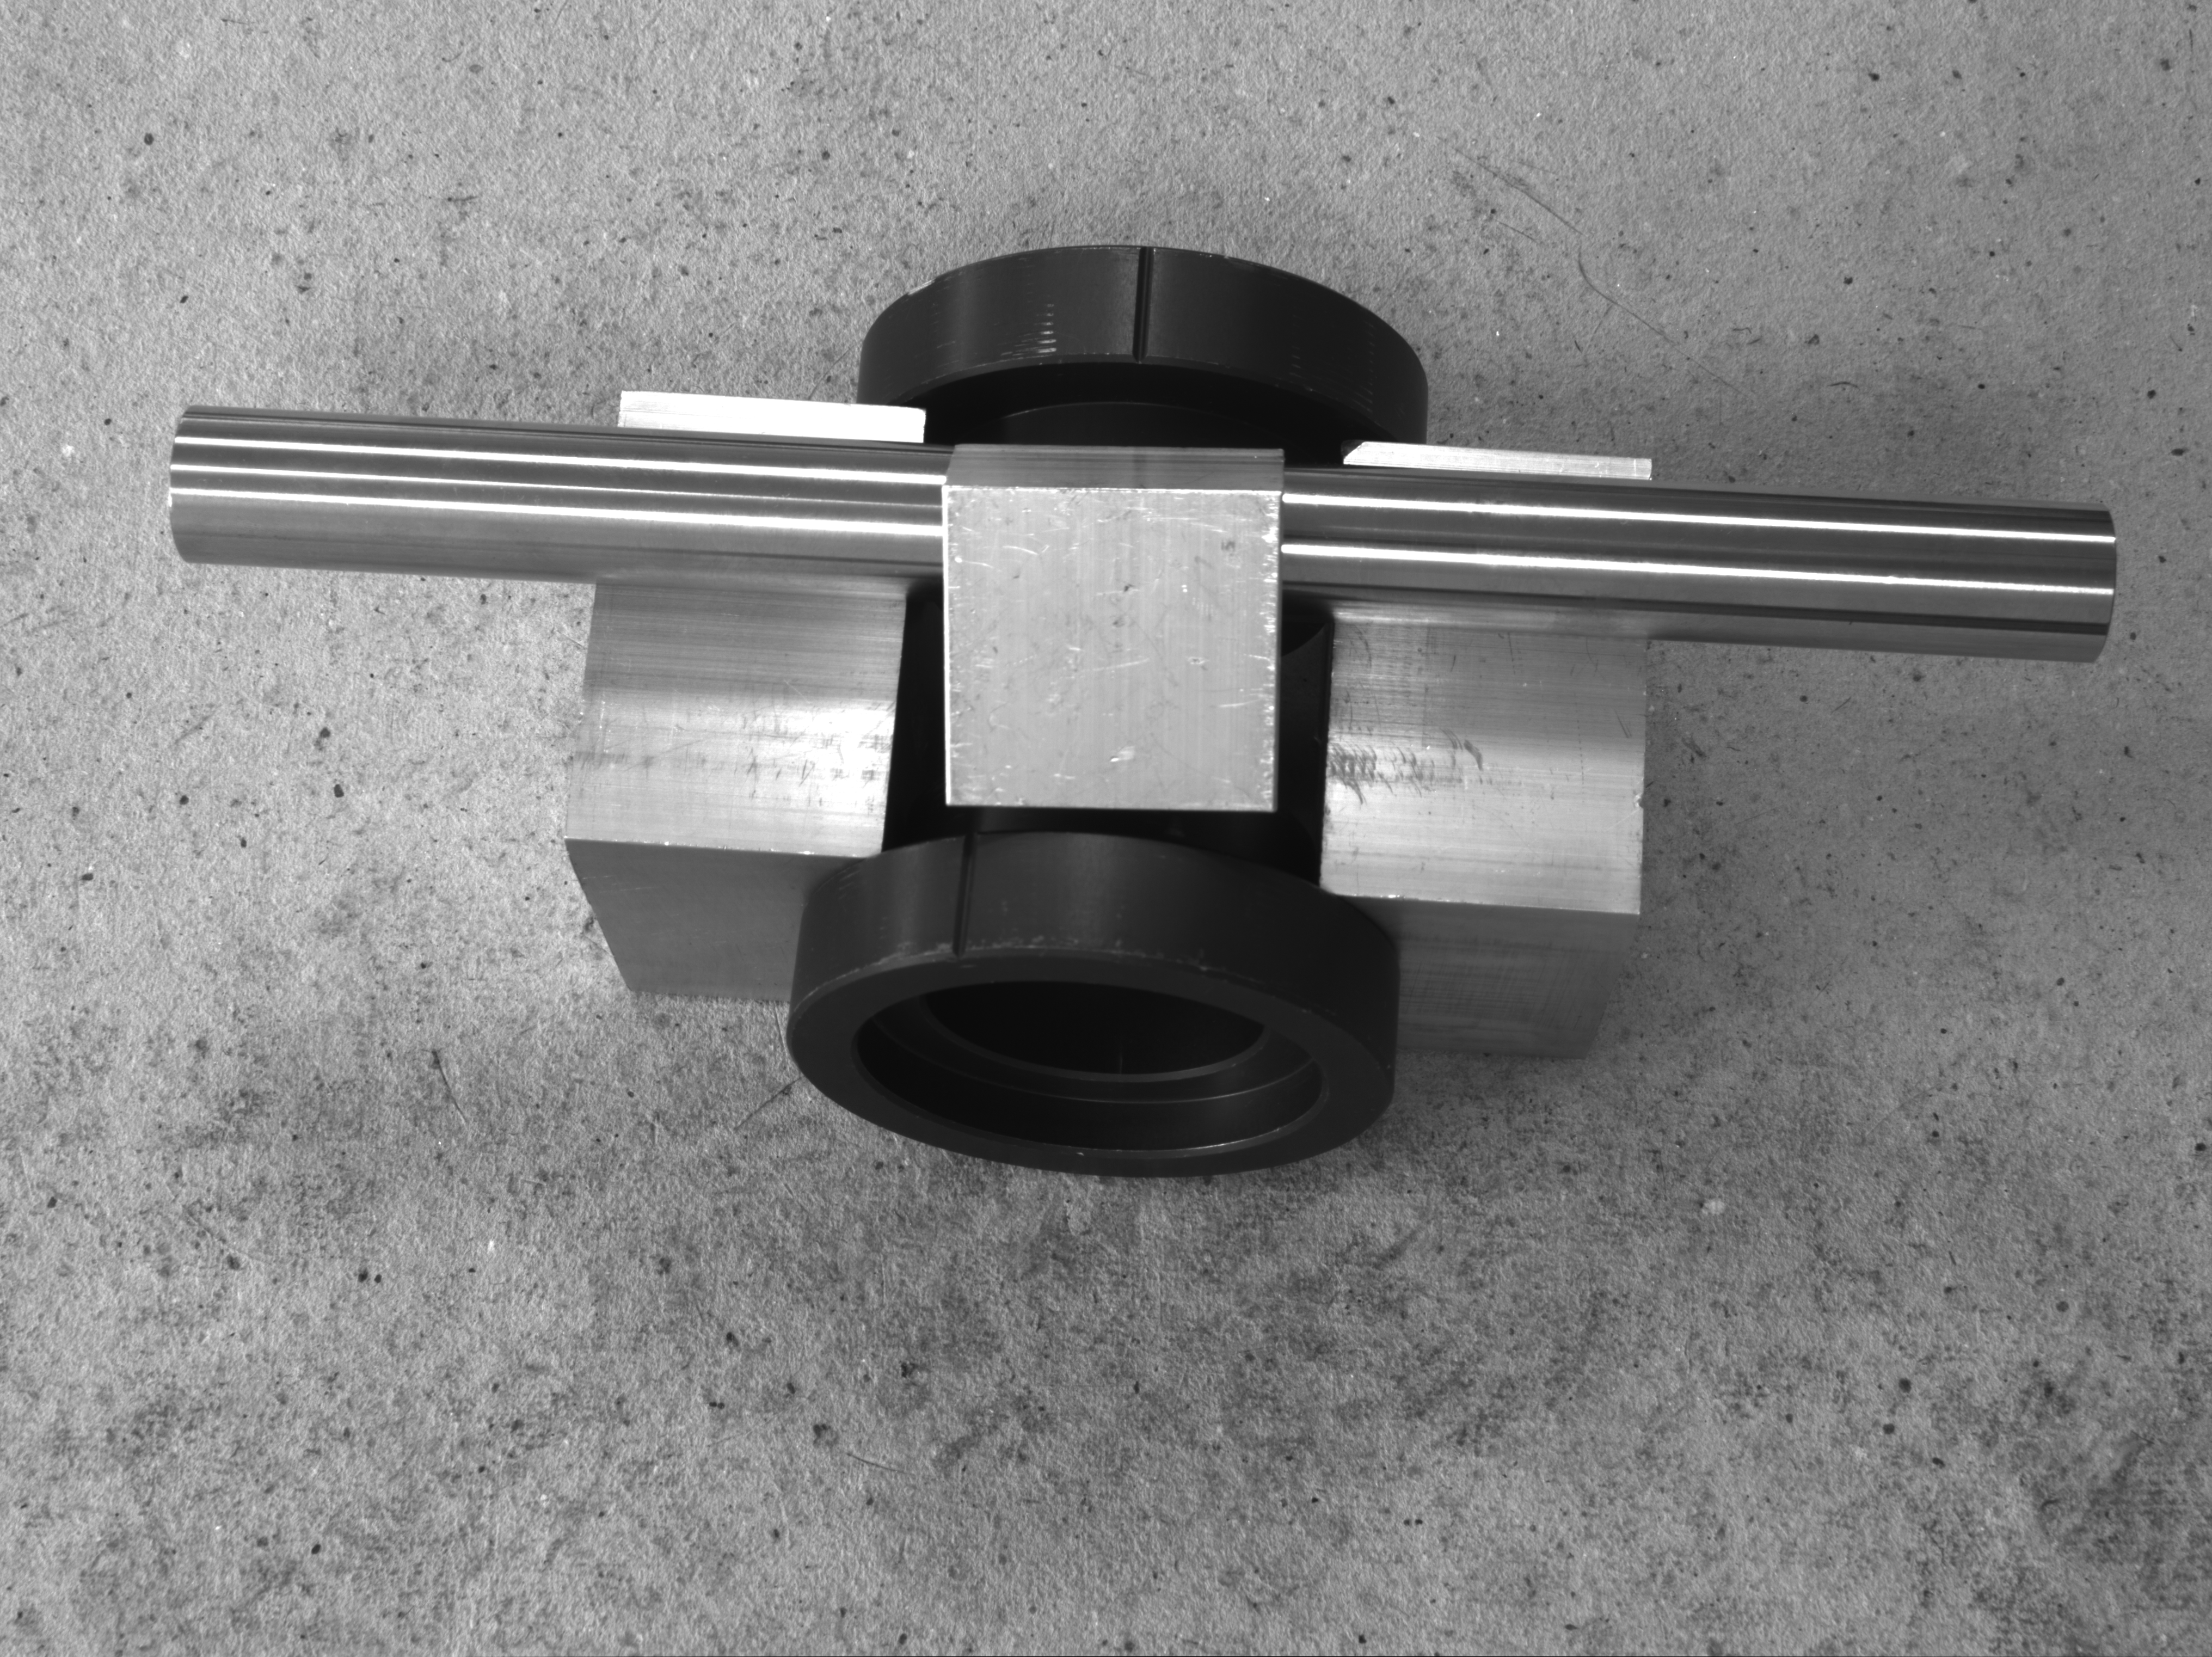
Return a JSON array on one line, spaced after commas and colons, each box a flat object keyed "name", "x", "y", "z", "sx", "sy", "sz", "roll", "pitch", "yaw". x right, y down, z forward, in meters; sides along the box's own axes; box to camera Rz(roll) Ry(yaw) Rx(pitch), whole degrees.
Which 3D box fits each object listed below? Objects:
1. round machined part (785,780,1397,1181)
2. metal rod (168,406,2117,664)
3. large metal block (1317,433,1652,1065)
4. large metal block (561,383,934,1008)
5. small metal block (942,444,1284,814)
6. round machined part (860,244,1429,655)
[{"name": "round machined part", "x": -0.001, "y": 0.021, "z": 0.599, "sx": 0.098, "sy": 0.098, "sz": 0.042, "roll": 4, "pitch": 65, "yaw": 2}, {"name": "metal rod", "x": 0.005, "y": -0.046, "z": 0.577, "sx": 0.300, "sy": 0.025, "sz": 0.025, "roll": 3, "pitch": 70, "yaw": 1}, {"name": "large metal block", "x": 0.061, "y": -0.011, "z": 0.621, "sx": 0.050, "sy": 0.080, "sz": 0.080, "roll": 4, "pitch": 70, "yaw": 2}, {"name": "large metal block", "x": -0.057, "y": -0.020, "z": 0.624, "sx": 0.050, "sy": 0.080, "sz": 0.080, "roll": 4, "pitch": 70, "yaw": 2}, {"name": "small metal block", "x": 0.002, "y": -0.030, "z": 0.557, "sx": 0.050, "sy": 0.025, "sz": 0.050, "roll": 1, "pitch": 110, "yaw": 2}, {"name": "round machined part", "x": 0.005, "y": -0.058, "z": 0.628, "sx": 0.098, "sy": 0.098, "sz": 0.042, "roll": 4, "pitch": 71, "yaw": 2}]
